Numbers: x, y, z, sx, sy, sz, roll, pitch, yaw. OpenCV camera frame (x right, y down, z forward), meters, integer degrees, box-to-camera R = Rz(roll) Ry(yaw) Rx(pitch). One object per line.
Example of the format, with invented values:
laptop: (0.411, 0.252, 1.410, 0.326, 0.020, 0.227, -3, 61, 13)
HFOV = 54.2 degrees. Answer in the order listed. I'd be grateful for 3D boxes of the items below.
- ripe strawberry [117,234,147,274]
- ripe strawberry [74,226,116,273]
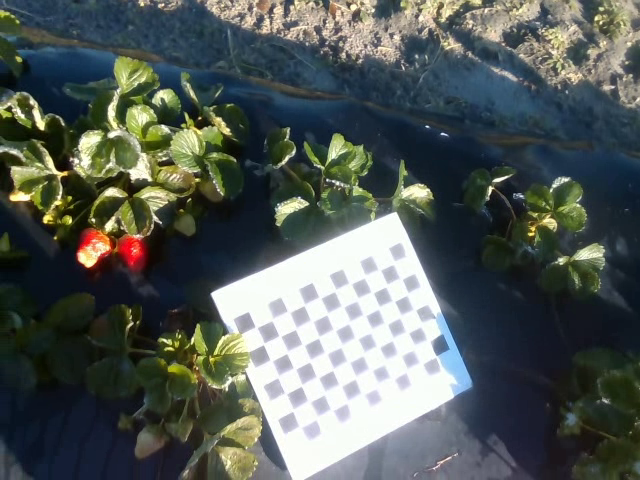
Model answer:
ripe strawberry: (-0.281, 0.018, 0.919, 0.043, 0.059, 0.040, -24, -5, -16)
ripe strawberry: (-0.335, 0.016, 0.915, 0.052, 0.070, 0.040, 26, -20, -18)
